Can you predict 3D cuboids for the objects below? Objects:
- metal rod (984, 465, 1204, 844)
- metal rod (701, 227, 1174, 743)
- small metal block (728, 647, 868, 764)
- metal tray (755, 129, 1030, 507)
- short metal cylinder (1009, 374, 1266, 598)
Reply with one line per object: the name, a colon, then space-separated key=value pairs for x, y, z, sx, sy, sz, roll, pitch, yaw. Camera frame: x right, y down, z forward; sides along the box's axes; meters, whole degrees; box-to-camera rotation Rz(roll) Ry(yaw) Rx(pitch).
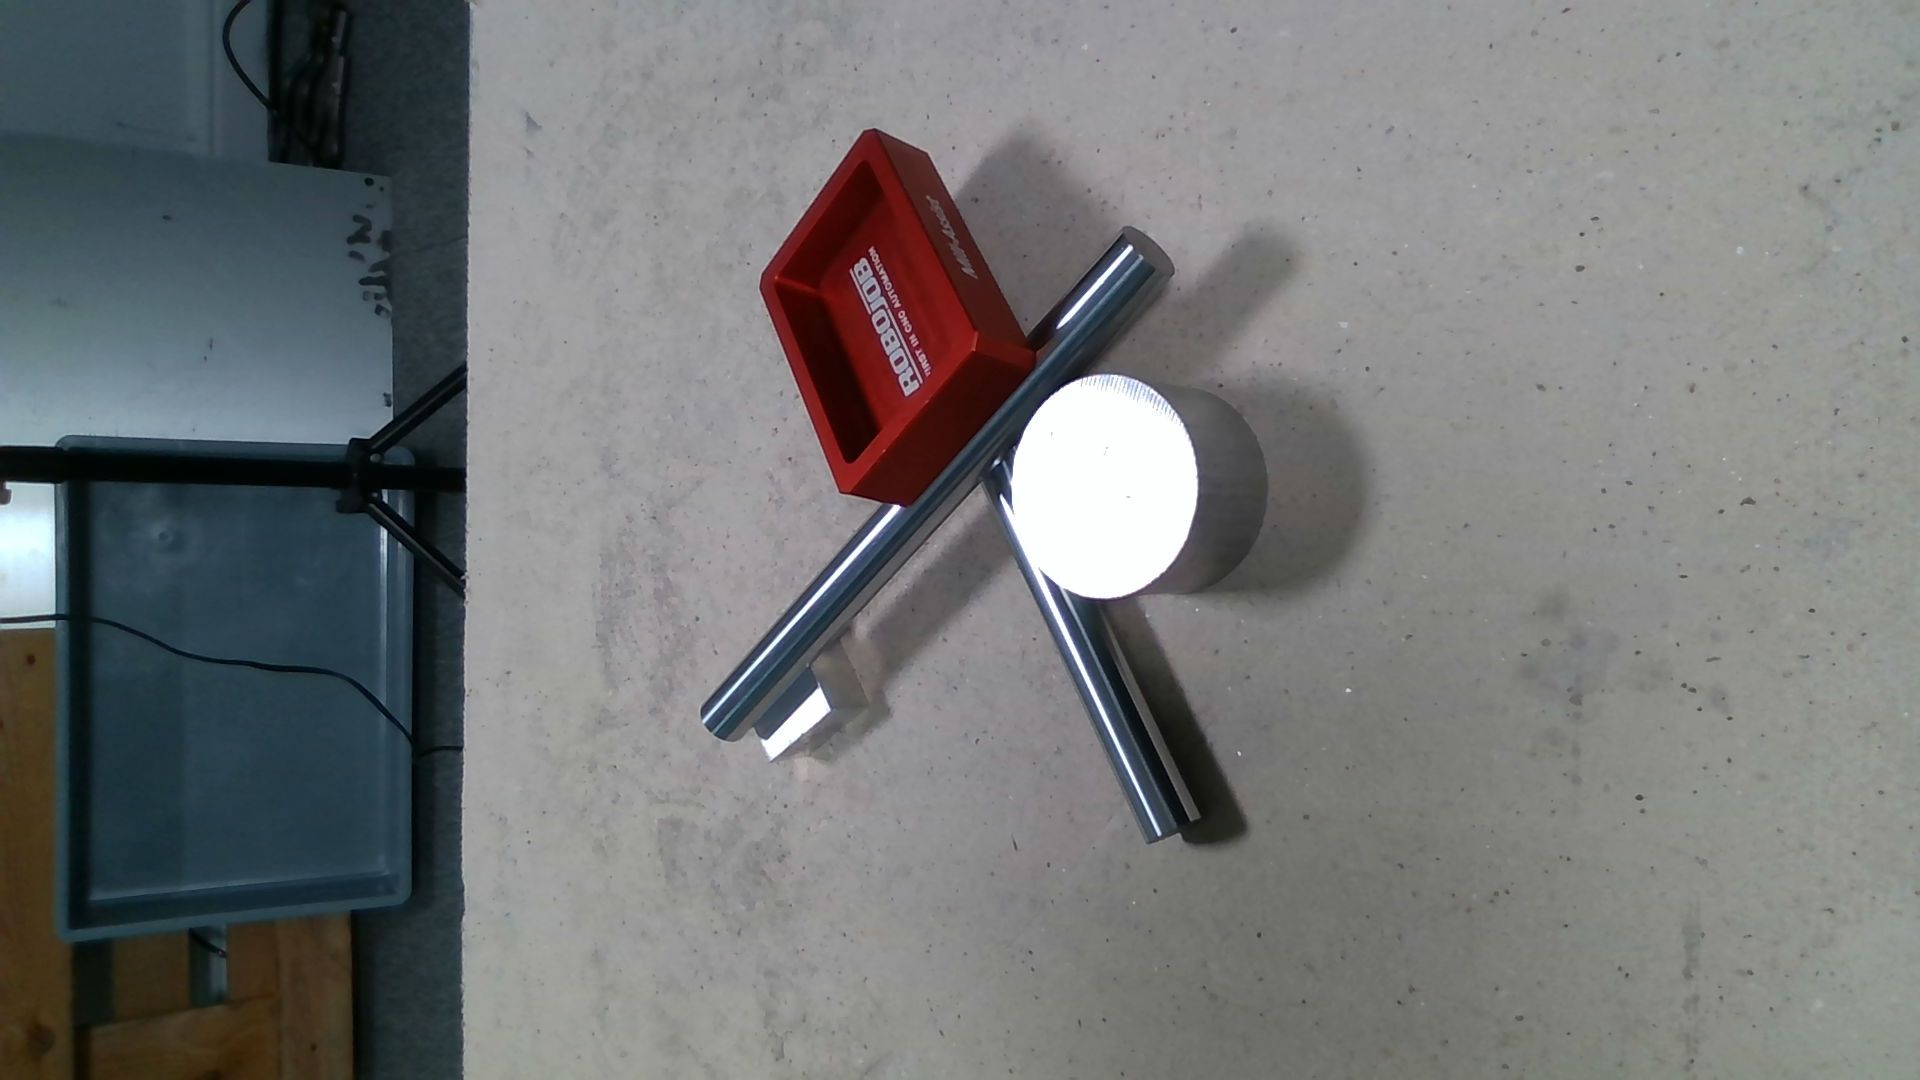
metal rod: x=0.023 y=-0.021 z=0.563 sx=0.025 sy=0.025 sz=0.299 roll=-37 pitch=67 yaw=34
metal rod: x=-0.021 y=-0.009 z=0.568 sx=0.301 sy=0.025 sz=0.025 roll=-47 pitch=62 yaw=31
small metal block: x=-0.077 y=0.070 z=0.648 sx=0.050 sy=0.025 sz=0.050 roll=-41 pitch=65 yaw=33
metal tray: x=-0.032 y=-0.090 z=0.554 sx=0.090 sy=0.030 sz=0.130 roll=-47 pitch=51 yaw=30
short metal cylinder: x=0.065 y=-0.019 z=0.510 sx=0.080 sy=0.050 sz=0.080 roll=0 pitch=91 yaw=40
